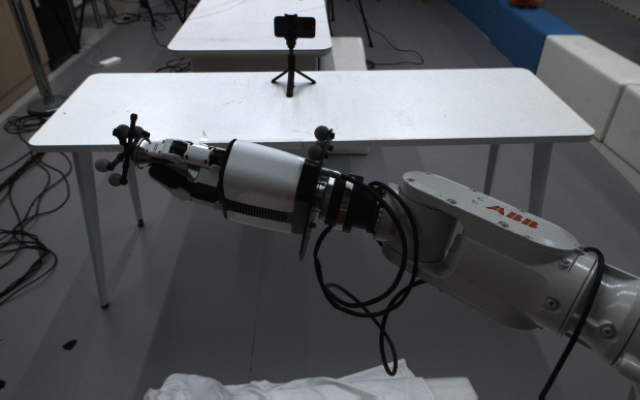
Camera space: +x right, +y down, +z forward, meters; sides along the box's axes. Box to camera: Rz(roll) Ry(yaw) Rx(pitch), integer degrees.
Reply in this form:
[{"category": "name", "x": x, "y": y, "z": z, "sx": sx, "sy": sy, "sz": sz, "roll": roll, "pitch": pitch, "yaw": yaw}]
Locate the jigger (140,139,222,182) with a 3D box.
[{"category": "jigger", "x": -0.180, "y": -0.053, "z": 0.586, "sx": 0.071, "sy": 0.043, "sz": 0.043, "roll": 13, "pitch": 36, "yaw": 4}]
